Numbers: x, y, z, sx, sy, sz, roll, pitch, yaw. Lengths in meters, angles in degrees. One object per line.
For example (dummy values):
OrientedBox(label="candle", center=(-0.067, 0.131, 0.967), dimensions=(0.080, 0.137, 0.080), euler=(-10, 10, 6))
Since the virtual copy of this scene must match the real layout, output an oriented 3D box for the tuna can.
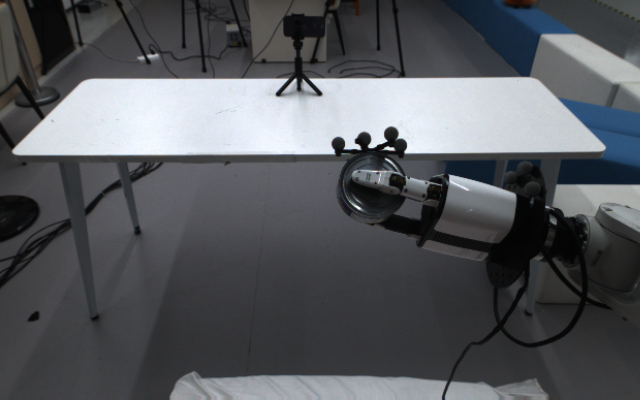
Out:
OrientedBox(label="tuna can", center=(0.065, -0.017, 0.600), dimensions=(0.085, 0.034, 0.085), euler=(1, 70, -4))
